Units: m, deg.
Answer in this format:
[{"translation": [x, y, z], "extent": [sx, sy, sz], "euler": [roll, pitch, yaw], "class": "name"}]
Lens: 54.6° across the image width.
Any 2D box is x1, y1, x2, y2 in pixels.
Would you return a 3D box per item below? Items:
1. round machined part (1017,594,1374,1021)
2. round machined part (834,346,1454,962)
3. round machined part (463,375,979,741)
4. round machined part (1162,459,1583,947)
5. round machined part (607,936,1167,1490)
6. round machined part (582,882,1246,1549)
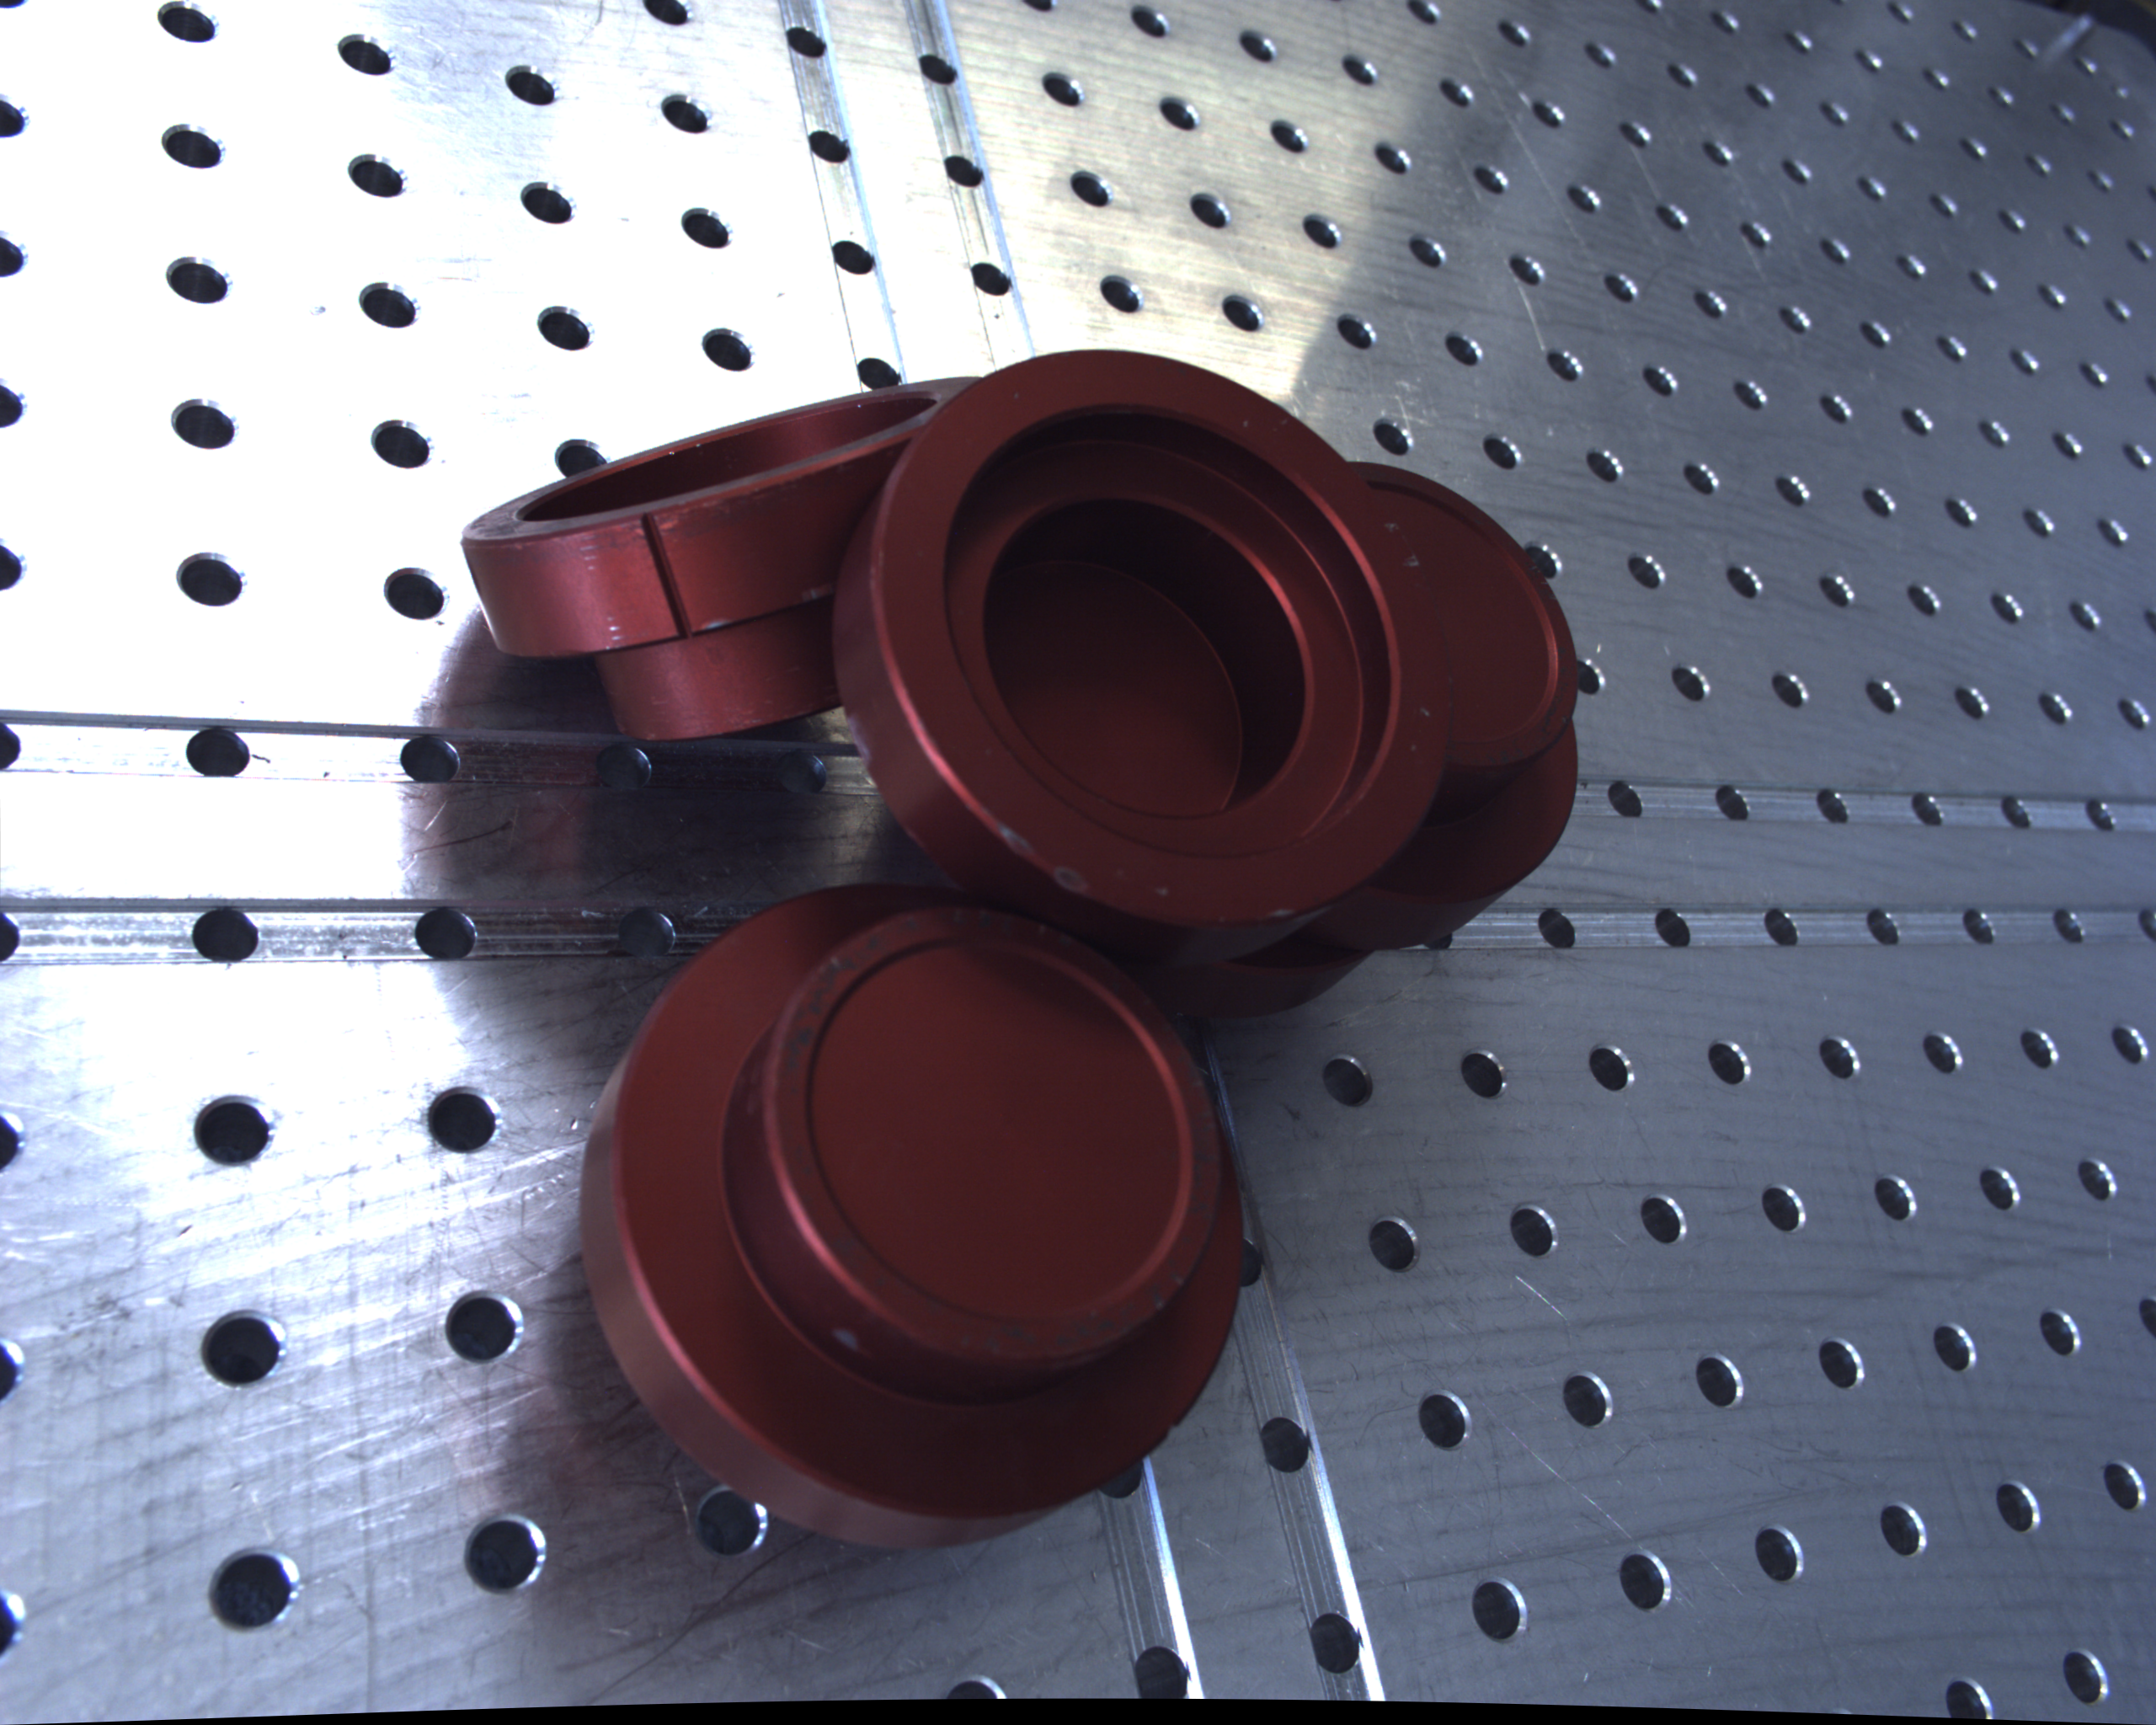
[{"translation": [0.027, -0.023, 0.398], "extent": [0.099, 0.042, 0.098], "euler": [13, 56, -21], "class": "round machined part"}, {"translation": [0.008, -0.030, 0.337], "extent": [0.099, 0.042, 0.098], "euler": [9, 66, -22], "class": "round machined part"}, {"translation": [-0.055, -0.054, 0.375], "extent": [0.099, 0.098, 0.042], "euler": [-31, 114, -38], "class": "round machined part"}, {"translation": [0.055, -0.037, 0.393], "extent": [0.099, 0.042, 0.098], "euler": [14, 55, -20], "class": "round machined part"}, {"translation": [-0.023, 0.047, 0.329], "extent": [0.099, 0.042, 0.098], "euler": [13, 56, -21], "class": "round machined part"}, {"translation": [-0.018, 0.046, 0.305], "extent": [0.099, 0.042, 0.098], "euler": [13, 56, -21], "class": "round machined part"}]
